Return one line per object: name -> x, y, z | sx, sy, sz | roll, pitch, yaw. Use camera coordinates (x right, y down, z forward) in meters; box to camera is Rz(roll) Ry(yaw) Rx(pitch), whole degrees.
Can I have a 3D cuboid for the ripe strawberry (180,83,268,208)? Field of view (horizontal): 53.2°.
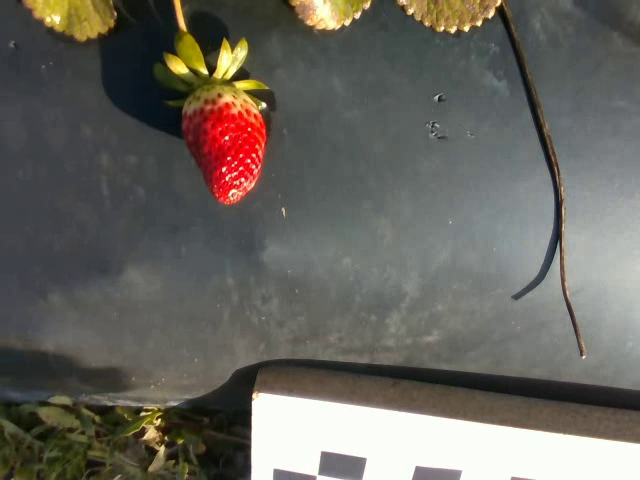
ripe strawberry -> -0.028, -0.027, 0.188 | 0.028, 0.041, 0.031 | -13, -21, 19
